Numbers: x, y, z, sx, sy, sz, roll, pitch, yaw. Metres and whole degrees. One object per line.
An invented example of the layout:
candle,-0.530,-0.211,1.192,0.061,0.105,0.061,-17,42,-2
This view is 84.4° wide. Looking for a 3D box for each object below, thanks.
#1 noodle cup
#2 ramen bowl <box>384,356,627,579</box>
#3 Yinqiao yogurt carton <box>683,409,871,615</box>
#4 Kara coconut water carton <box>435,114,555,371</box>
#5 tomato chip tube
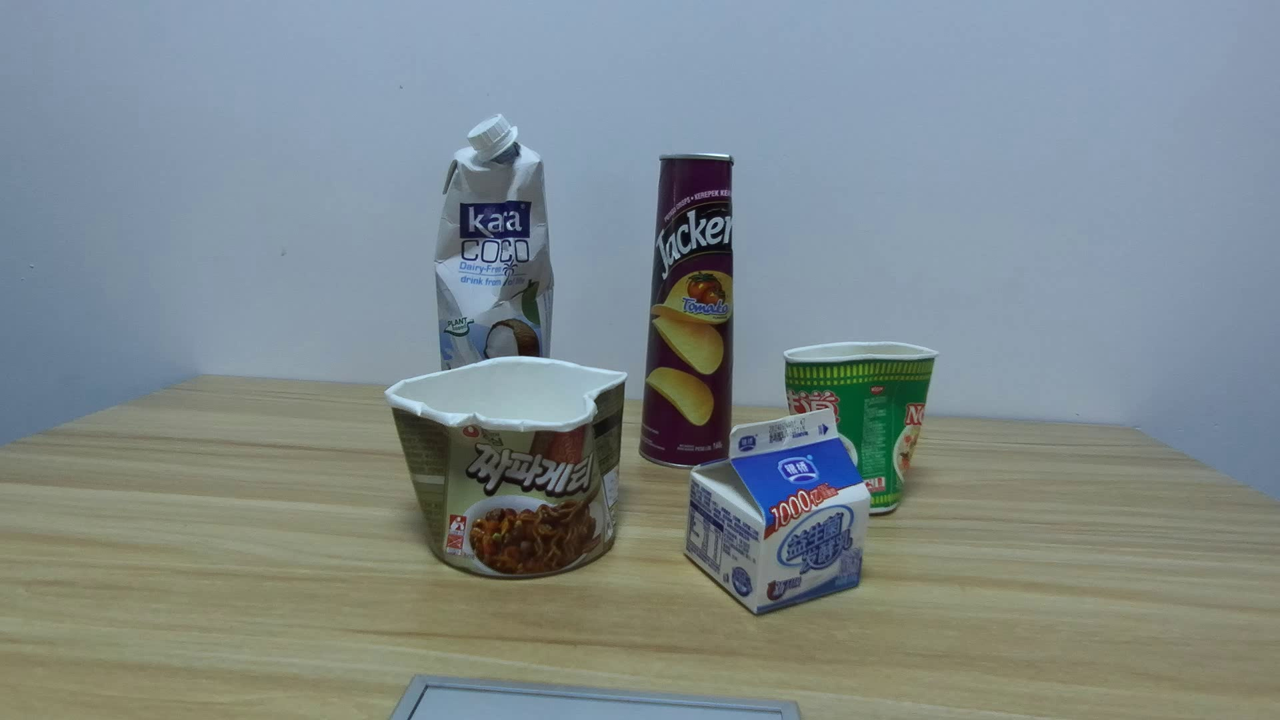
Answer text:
noodle cup,0.151,0.044,0.494,0.115,0.111,0.070,2,14,-1
ramen bowl,-0.079,0.058,0.421,0.133,0.097,0.113,5,15,6
Yinqiao yogurt carton,0.075,0.074,0.387,0.076,0.092,0.073,-5,15,-27
Kara coconut water carton,-0.111,-0.052,0.542,0.083,0.255,0.078,5,16,7
tomato chip tube,0.043,-0.038,0.556,0.076,0.235,0.078,8,13,25
